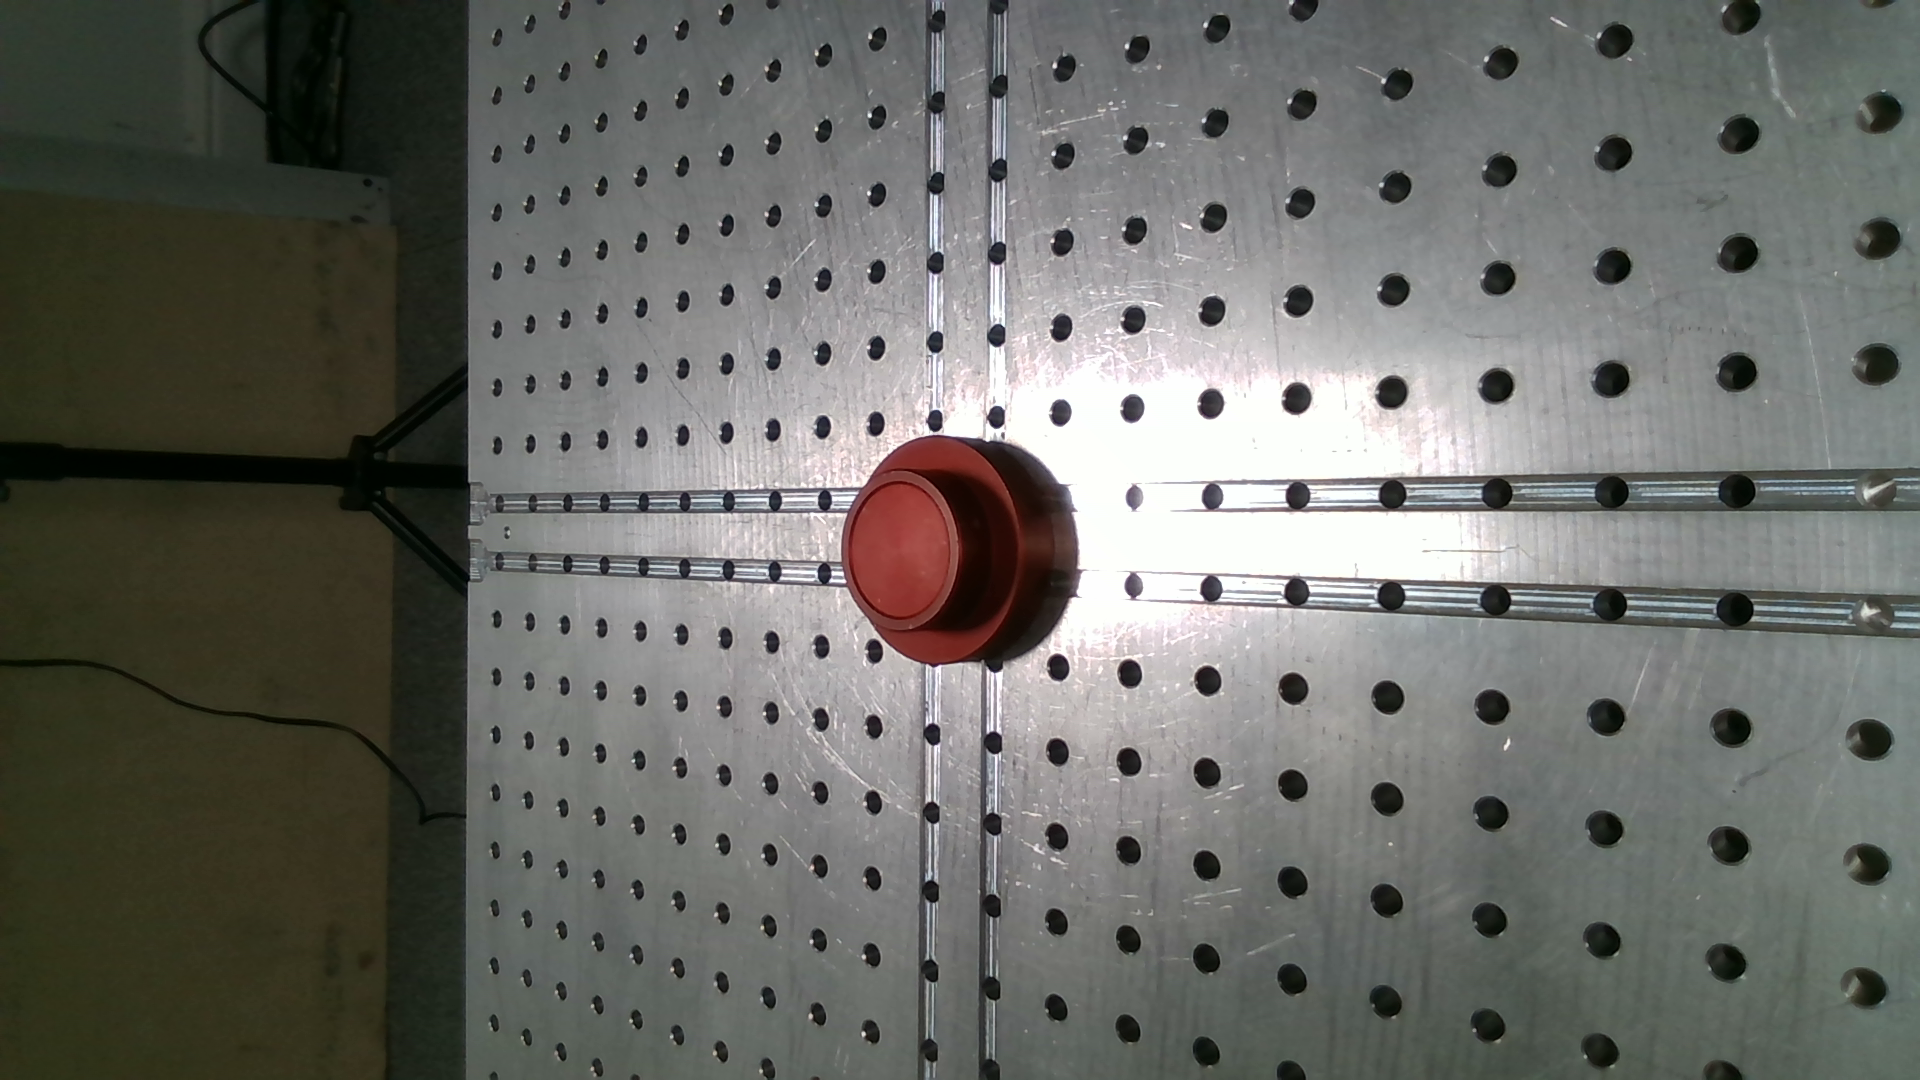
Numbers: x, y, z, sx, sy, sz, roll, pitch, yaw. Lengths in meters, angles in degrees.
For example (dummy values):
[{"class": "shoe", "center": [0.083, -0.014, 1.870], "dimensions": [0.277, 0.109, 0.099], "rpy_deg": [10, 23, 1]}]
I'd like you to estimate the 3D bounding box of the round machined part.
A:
[{"class": "round machined part", "center": [-0.013, 0.004, 0.584], "dimensions": [0.098, 0.042, 0.098], "rpy_deg": [0, 91, 40]}]
